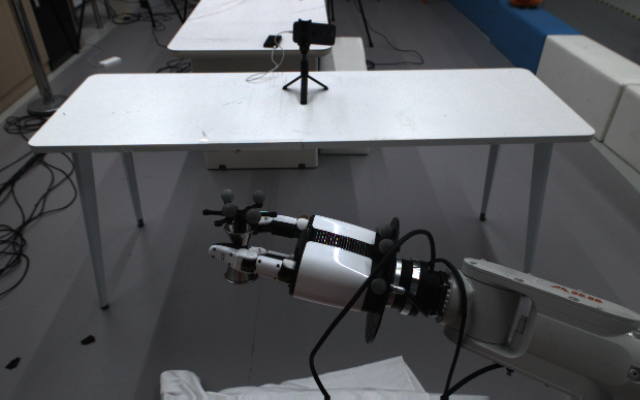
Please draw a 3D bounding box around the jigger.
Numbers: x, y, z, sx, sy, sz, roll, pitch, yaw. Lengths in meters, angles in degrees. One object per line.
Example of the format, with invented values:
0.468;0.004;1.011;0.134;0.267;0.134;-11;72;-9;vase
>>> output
-0.098;0.062;0.607;0.043;0.071;0.043;2;20;-1;jigger
